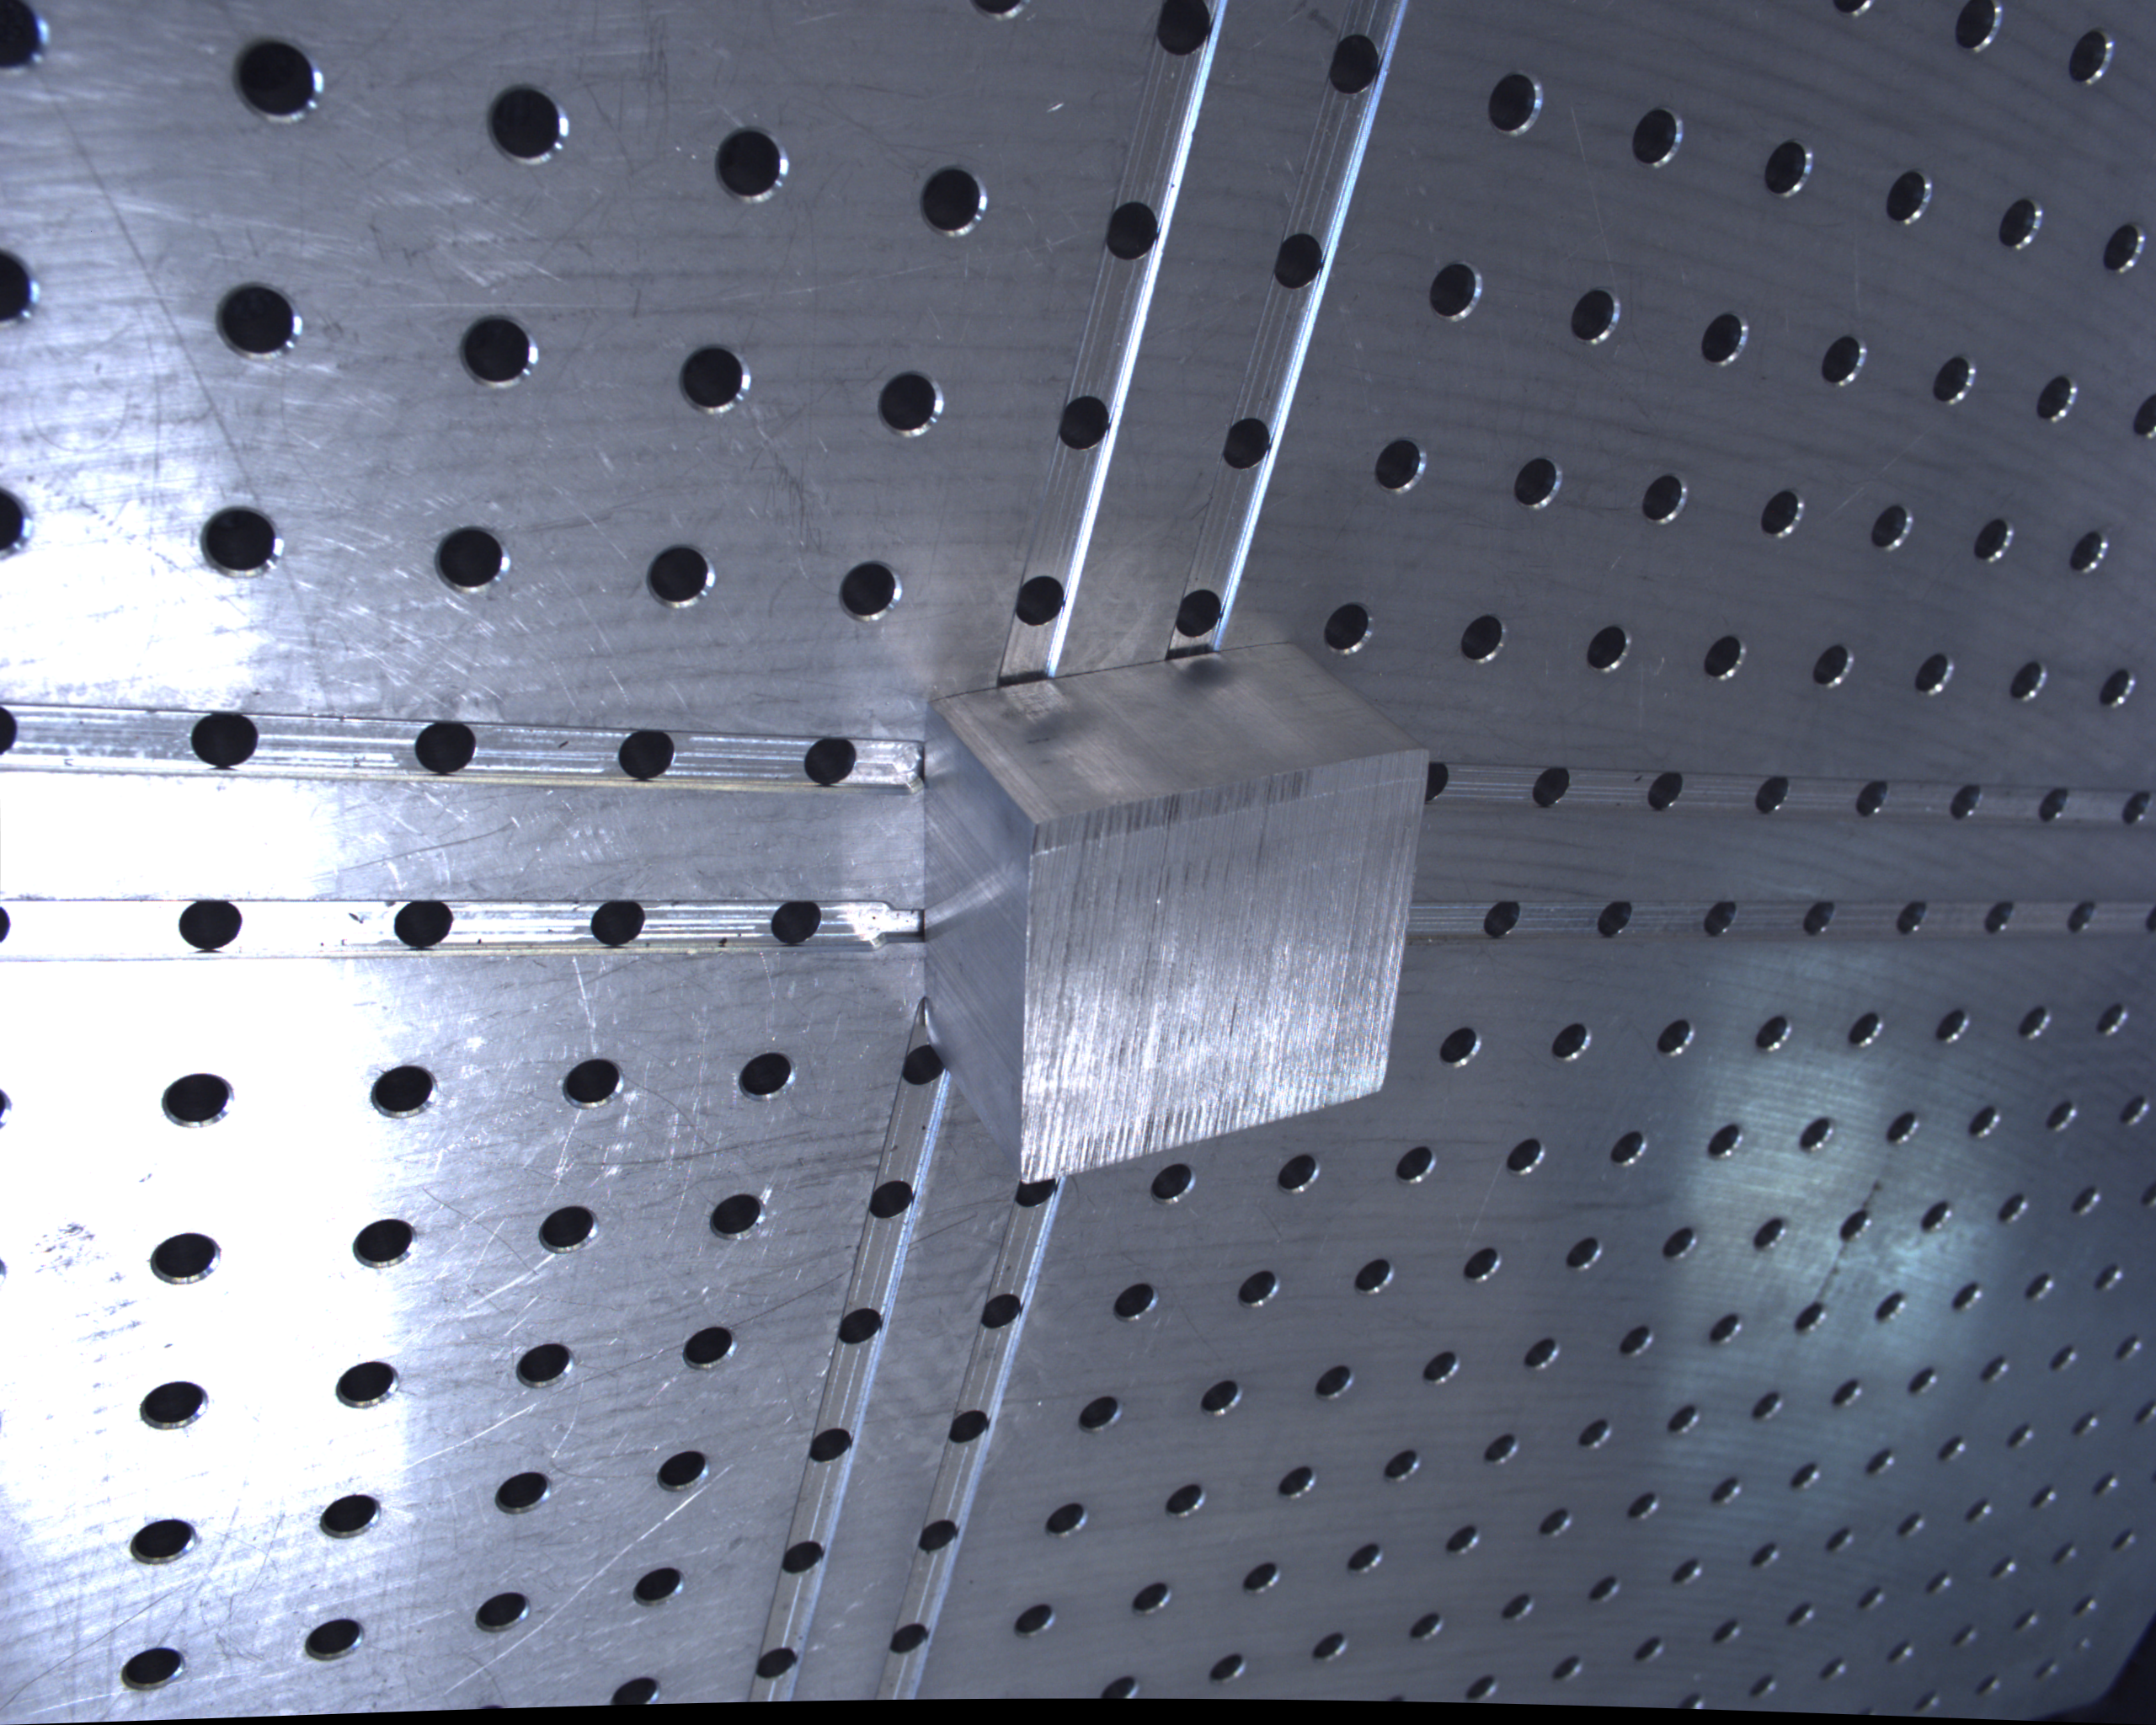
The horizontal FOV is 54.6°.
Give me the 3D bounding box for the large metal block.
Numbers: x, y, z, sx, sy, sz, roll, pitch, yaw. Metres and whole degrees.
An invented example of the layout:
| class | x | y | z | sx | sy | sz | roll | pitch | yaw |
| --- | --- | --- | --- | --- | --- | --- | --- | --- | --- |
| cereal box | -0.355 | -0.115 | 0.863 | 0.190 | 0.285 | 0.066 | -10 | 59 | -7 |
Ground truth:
| class | x | y | z | sx | sy | sz | roll | pitch | yaw |
| --- | --- | --- | --- | --- | --- | --- | --- | --- | --- |
| large metal block | 0.017 | 0.008 | 0.407 | 0.081 | 0.050 | 0.079 | -12 | 124 | -22 |
